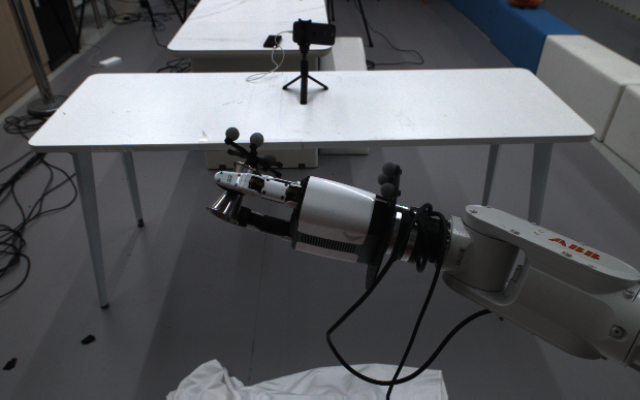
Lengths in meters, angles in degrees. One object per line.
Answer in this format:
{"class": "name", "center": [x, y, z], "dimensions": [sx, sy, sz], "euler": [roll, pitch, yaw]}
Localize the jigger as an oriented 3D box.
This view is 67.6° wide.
{"class": "jigger", "center": [-0.106, -0.011, 0.598], "dimensions": [0.043, 0.043, 0.071], "euler": [19, 72, 23]}
